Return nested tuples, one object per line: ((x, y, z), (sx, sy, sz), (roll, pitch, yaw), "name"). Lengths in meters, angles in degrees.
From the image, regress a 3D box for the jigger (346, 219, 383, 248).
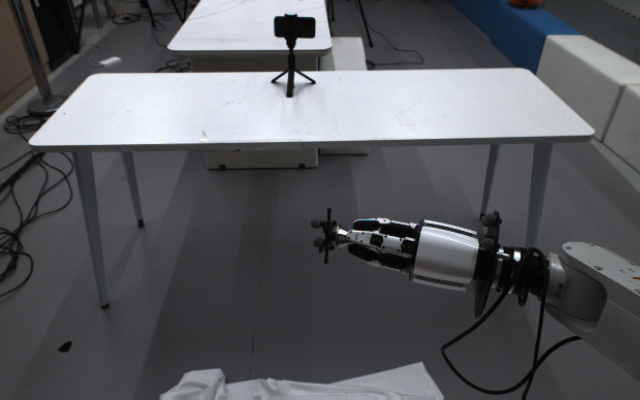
((0.069, 0.056, 0.762), (0.071, 0.043, 0.043), (2, 34, 16), "jigger")
